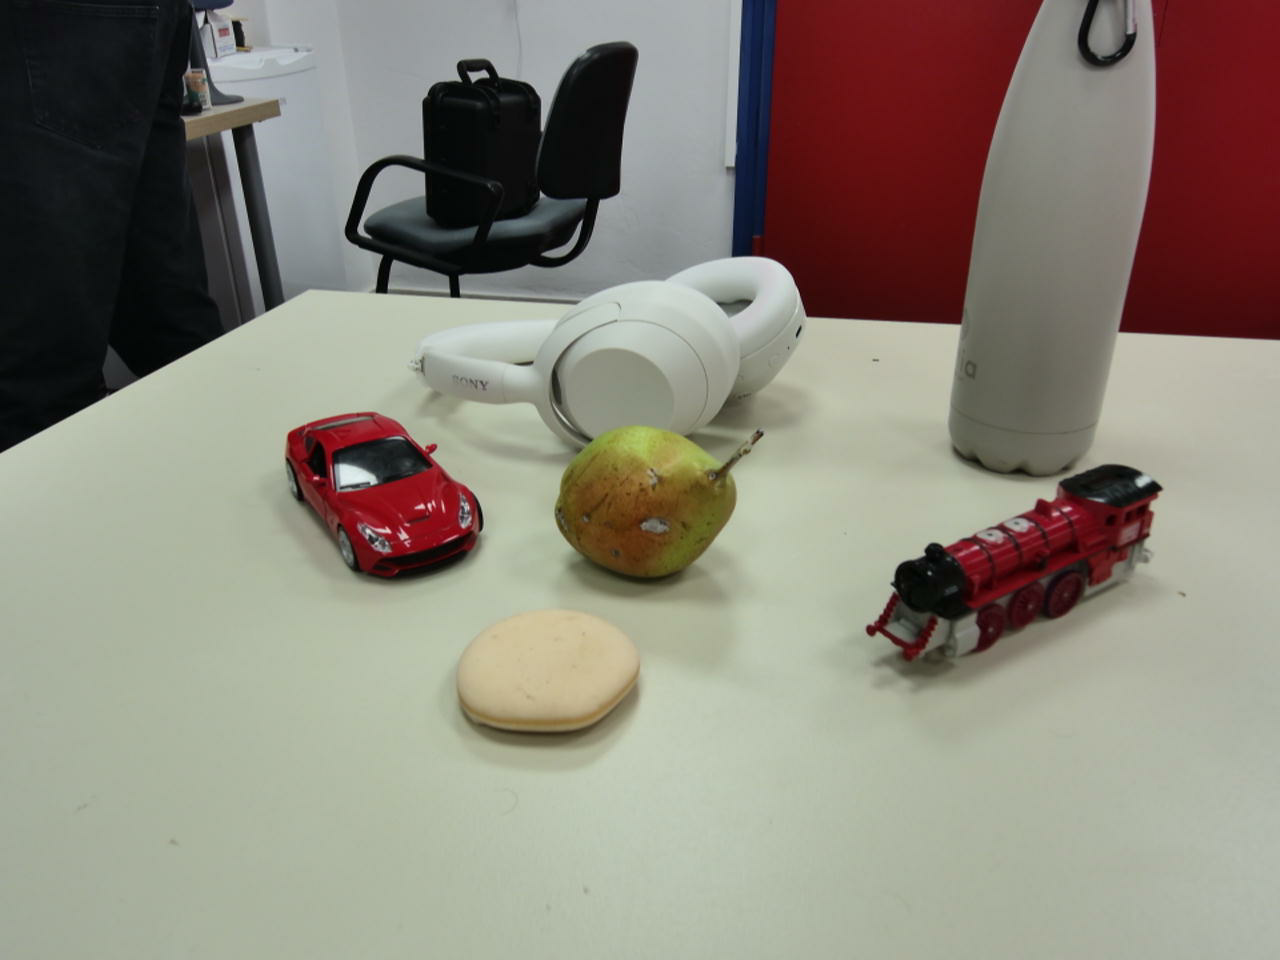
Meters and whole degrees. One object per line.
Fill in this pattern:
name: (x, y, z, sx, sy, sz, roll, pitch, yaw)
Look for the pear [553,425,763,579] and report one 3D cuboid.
pear: (0.002, 0.007, 0.412, 0.068, 0.069, 0.070, -11, 26, -23)
